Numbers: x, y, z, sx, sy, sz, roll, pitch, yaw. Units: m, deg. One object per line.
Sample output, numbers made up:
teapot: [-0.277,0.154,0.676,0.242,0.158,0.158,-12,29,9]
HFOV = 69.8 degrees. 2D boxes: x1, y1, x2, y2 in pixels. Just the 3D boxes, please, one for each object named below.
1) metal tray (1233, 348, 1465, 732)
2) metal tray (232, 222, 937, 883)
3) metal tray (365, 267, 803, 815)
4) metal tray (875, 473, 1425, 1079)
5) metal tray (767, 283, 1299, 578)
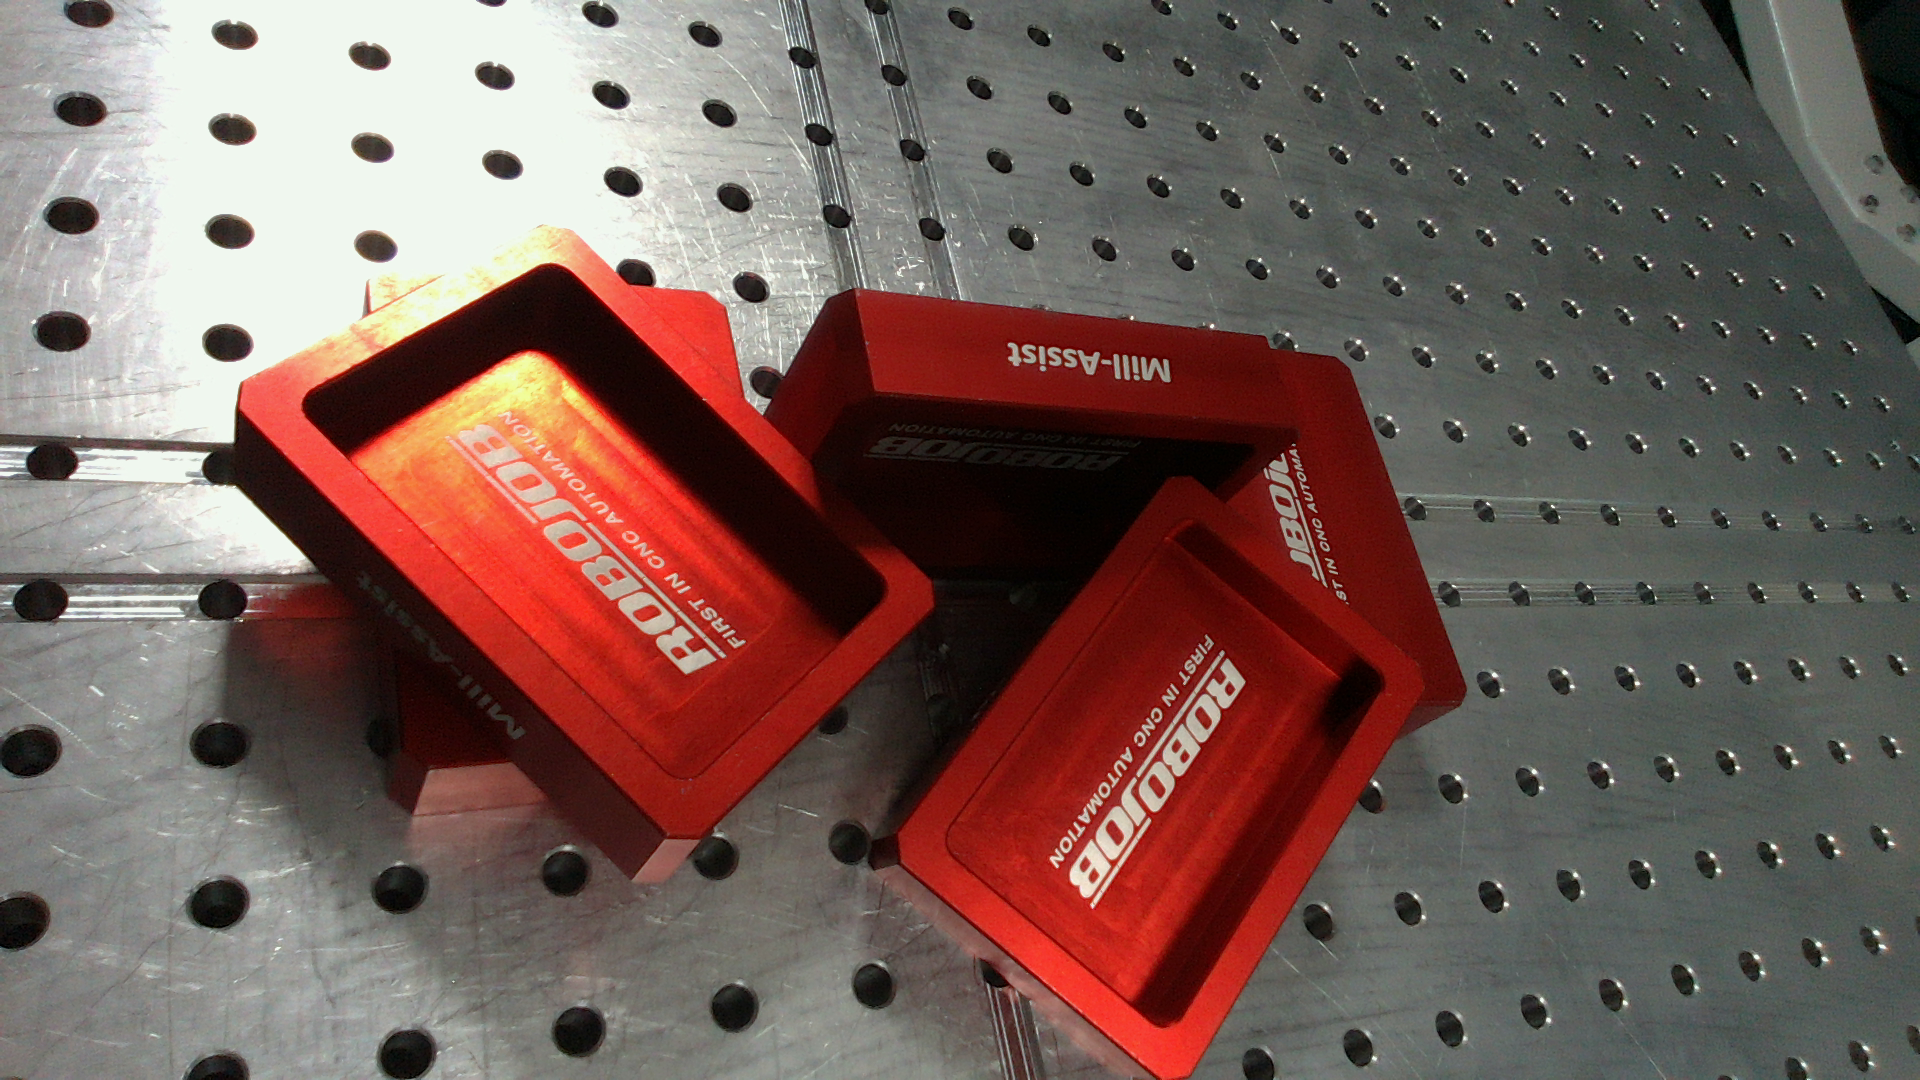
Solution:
metal tray: [0.100,-0.003,0.443,0.090,0.030,0.130,3,60,-27]
metal tray: [-0.080,-0.001,0.307,0.130,0.030,0.090,44,51,2]
metal tray: [-0.096,-0.004,0.341,0.090,0.030,0.130,-1,63,-28]
metal tray: [0.051,0.058,0.357,0.090,0.030,0.130,40,68,-2]
metal tray: [0.014,-0.024,0.371,0.130,0.090,0.030,1,61,-27]
